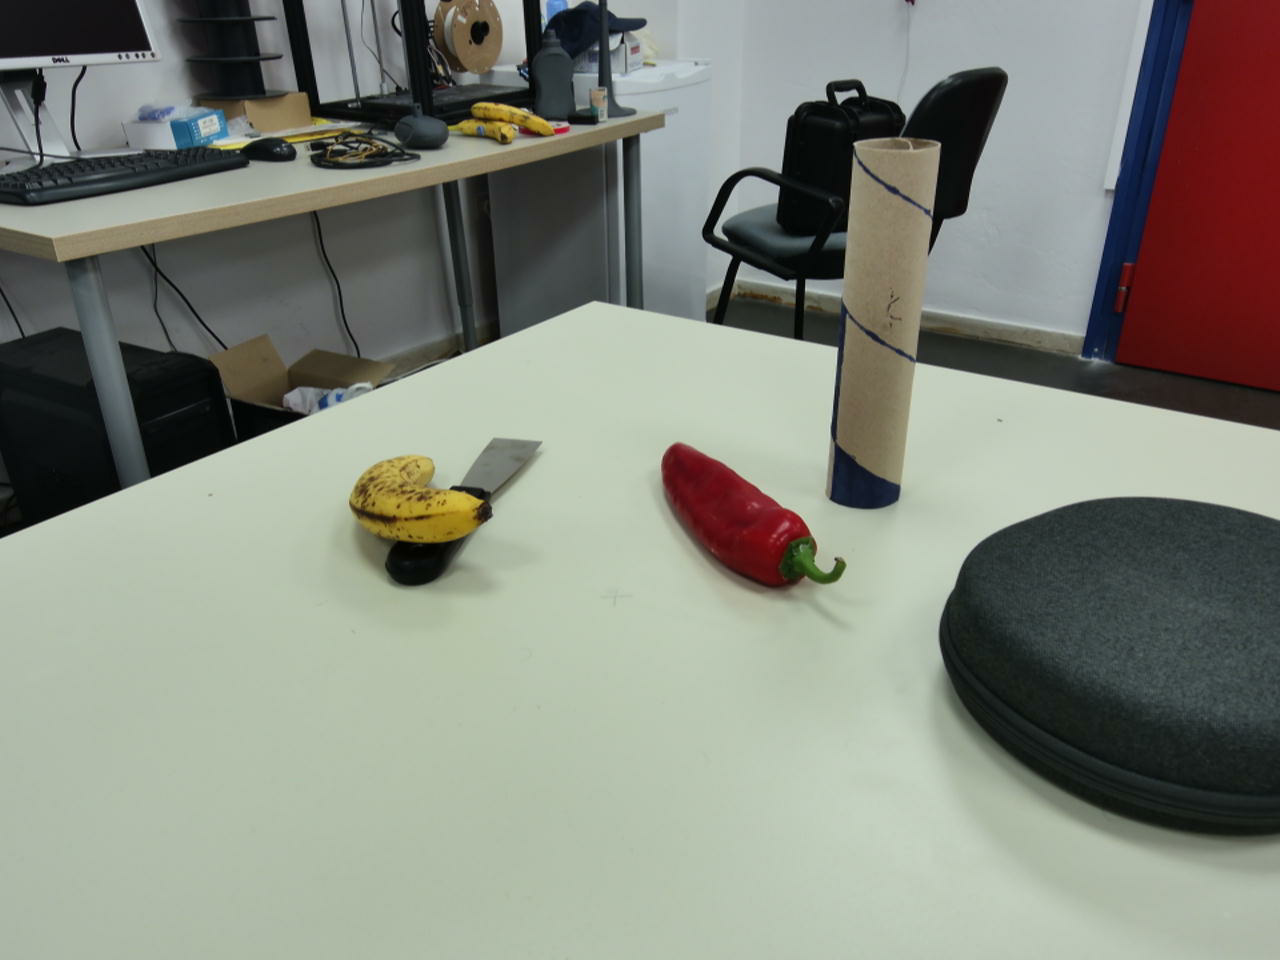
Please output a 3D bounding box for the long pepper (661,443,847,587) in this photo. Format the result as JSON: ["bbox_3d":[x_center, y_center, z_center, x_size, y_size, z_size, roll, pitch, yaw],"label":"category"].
[{"bbox_3d":[0.056,0.018,0.608,0.050,0.043,0.211,-10,27,-20],"label":"long pepper"}]
